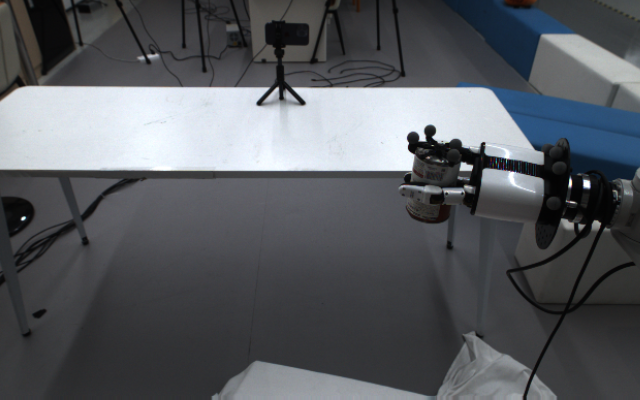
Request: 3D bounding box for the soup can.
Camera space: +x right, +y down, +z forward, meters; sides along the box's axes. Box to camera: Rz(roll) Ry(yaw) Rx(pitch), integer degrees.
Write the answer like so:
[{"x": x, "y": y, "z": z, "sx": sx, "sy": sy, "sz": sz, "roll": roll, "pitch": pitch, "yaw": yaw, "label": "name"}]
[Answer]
[{"x": 0.168, "y": -0.025, "z": 0.719, "sx": 0.067, "sy": 0.101, "sz": 0.067, "roll": 2, "pitch": 32, "yaw": -1, "label": "soup can"}]
